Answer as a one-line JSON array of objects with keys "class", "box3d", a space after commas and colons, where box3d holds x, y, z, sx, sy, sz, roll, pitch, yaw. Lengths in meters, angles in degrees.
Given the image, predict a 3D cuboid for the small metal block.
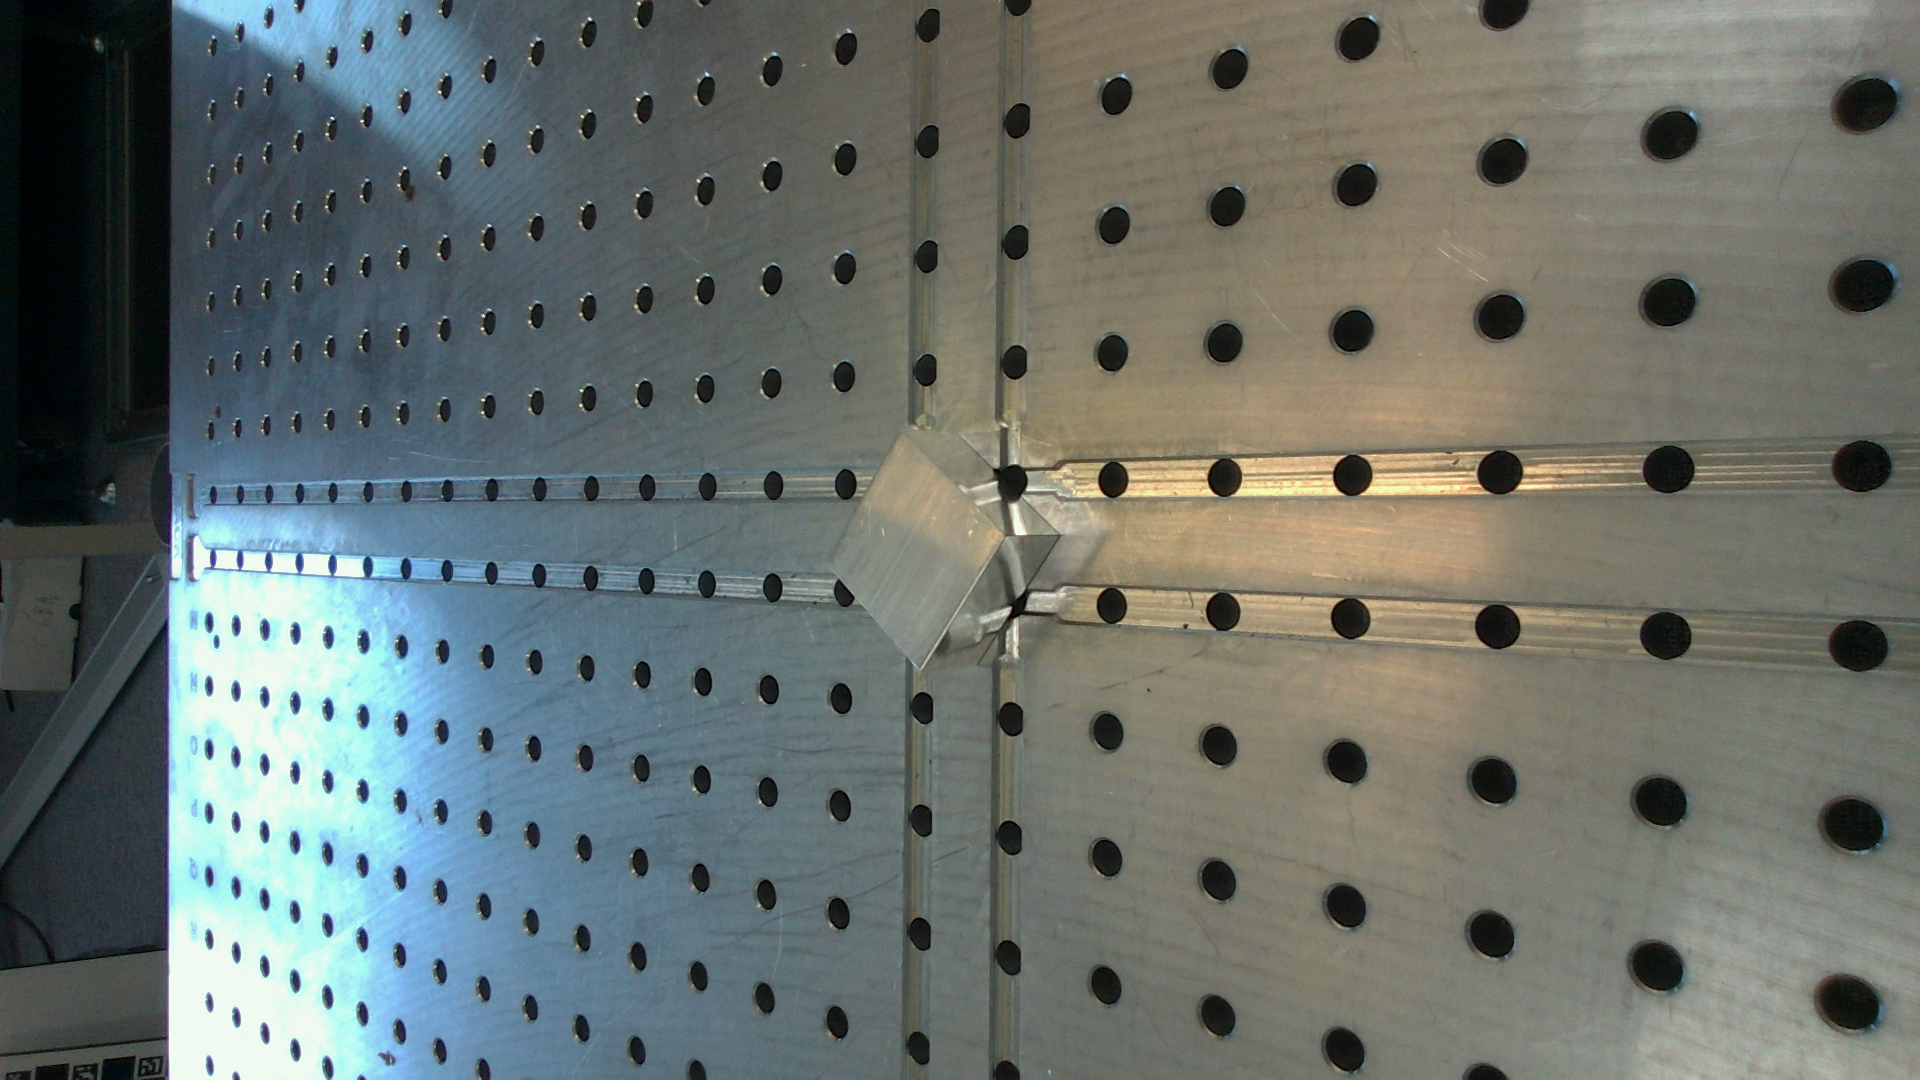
[{"class": "small metal block", "box3d": [-0.006, 0.003, 0.403, 0.050, 0.025, 0.050, 46, 118, 30]}]
